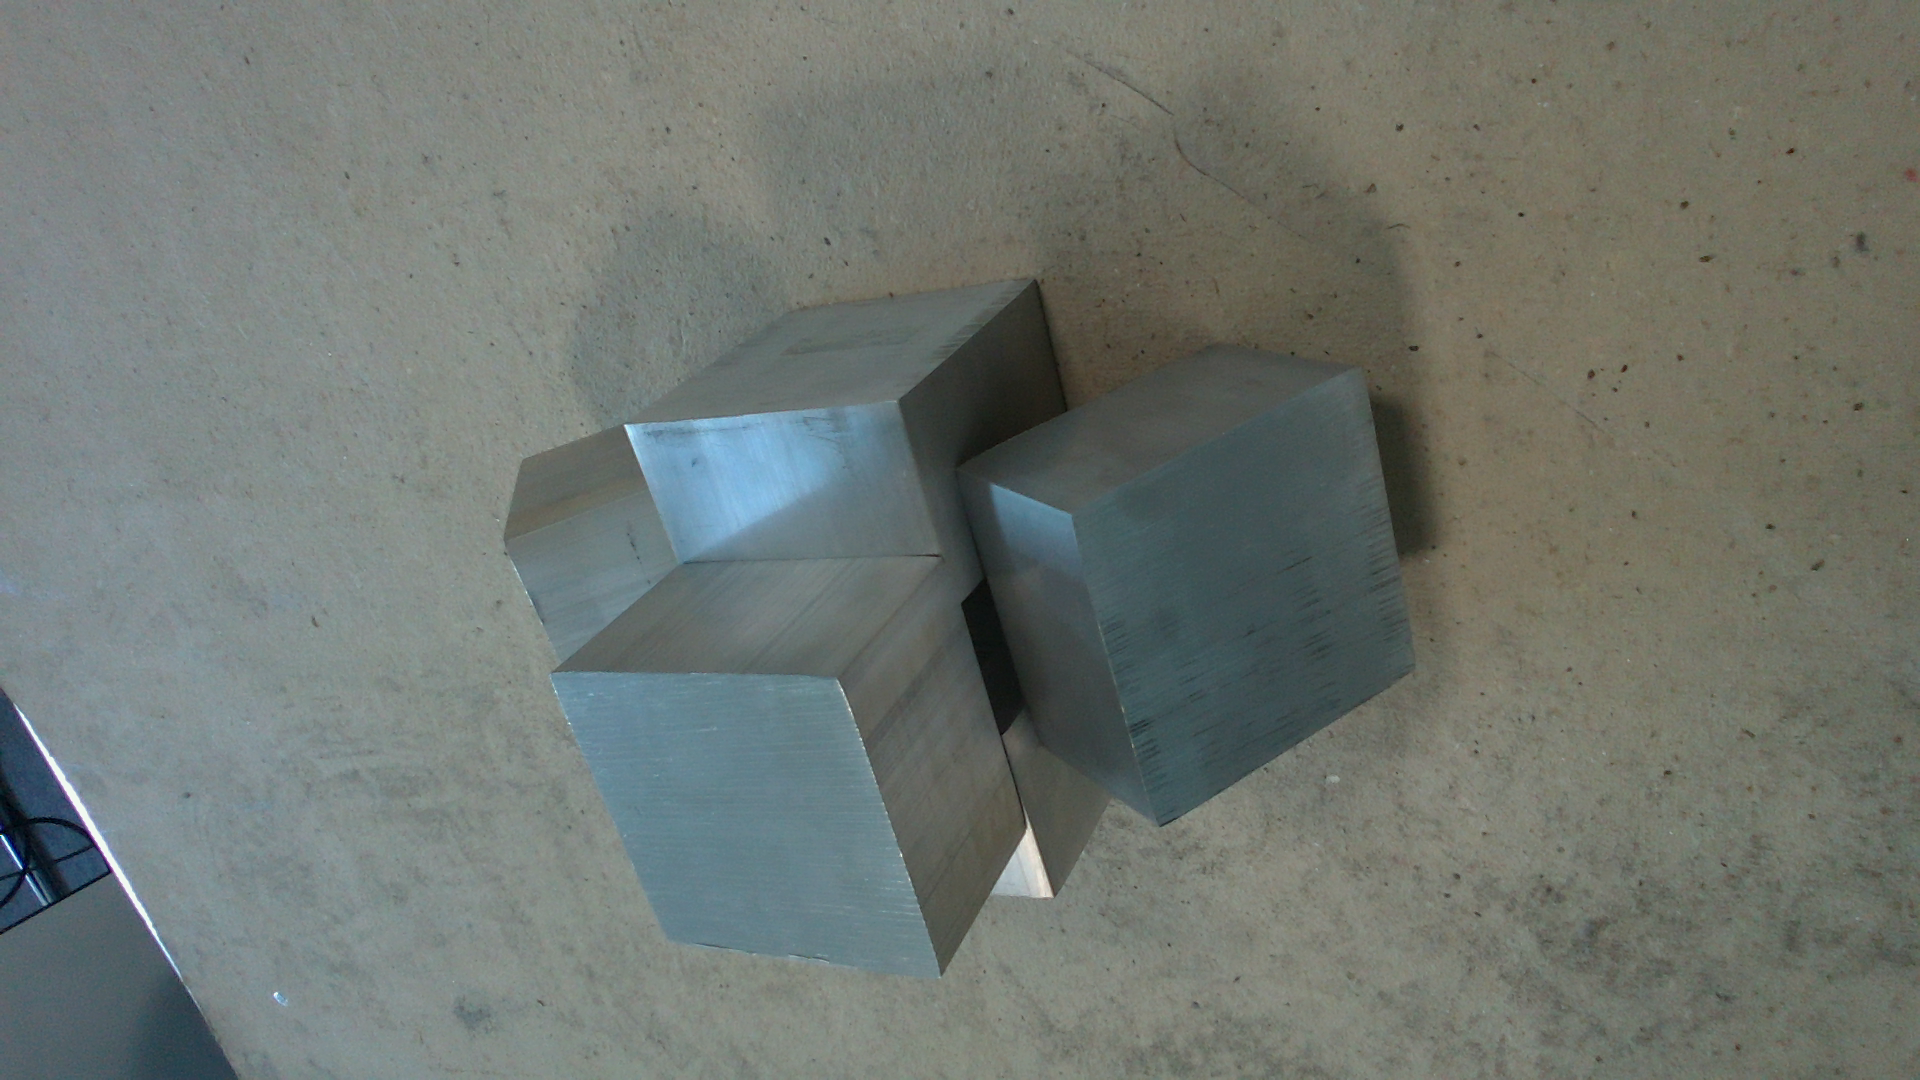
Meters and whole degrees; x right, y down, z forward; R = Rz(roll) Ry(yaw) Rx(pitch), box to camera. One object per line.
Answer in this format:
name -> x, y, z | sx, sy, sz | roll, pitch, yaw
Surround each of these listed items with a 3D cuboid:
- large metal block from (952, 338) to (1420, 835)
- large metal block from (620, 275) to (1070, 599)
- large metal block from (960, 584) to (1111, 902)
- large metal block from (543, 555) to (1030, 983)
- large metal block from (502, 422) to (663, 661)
large metal block -> 0.054, 0.007, 0.323 | 0.050, 0.080, 0.080 | 25, 138, 58
large metal block -> -0.024, -0.026, 0.355 | 0.080, 0.080, 0.050 | -2, 117, 29
large metal block -> 0.000, 0.054, 0.393 | 0.080, 0.080, 0.050 | -4, 117, 31
large metal block -> -0.038, 0.052, 0.326 | 0.080, 0.050, 0.080 | -2, 117, 29
large metal block -> -0.091, 0.014, 0.406 | 0.050, 0.080, 0.080 | -20, 113, -6
